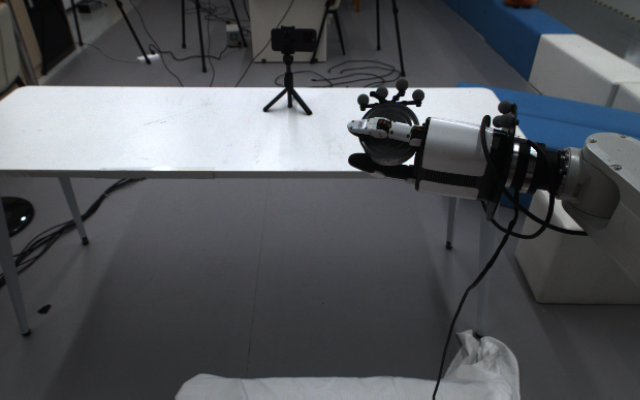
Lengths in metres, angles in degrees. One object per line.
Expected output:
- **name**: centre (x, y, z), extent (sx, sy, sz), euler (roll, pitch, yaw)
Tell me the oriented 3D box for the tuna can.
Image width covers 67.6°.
- **tuna can**: centre (0.099, -0.094, 0.689), extent (0.085, 0.034, 0.085), euler (-4, 73, 14)
